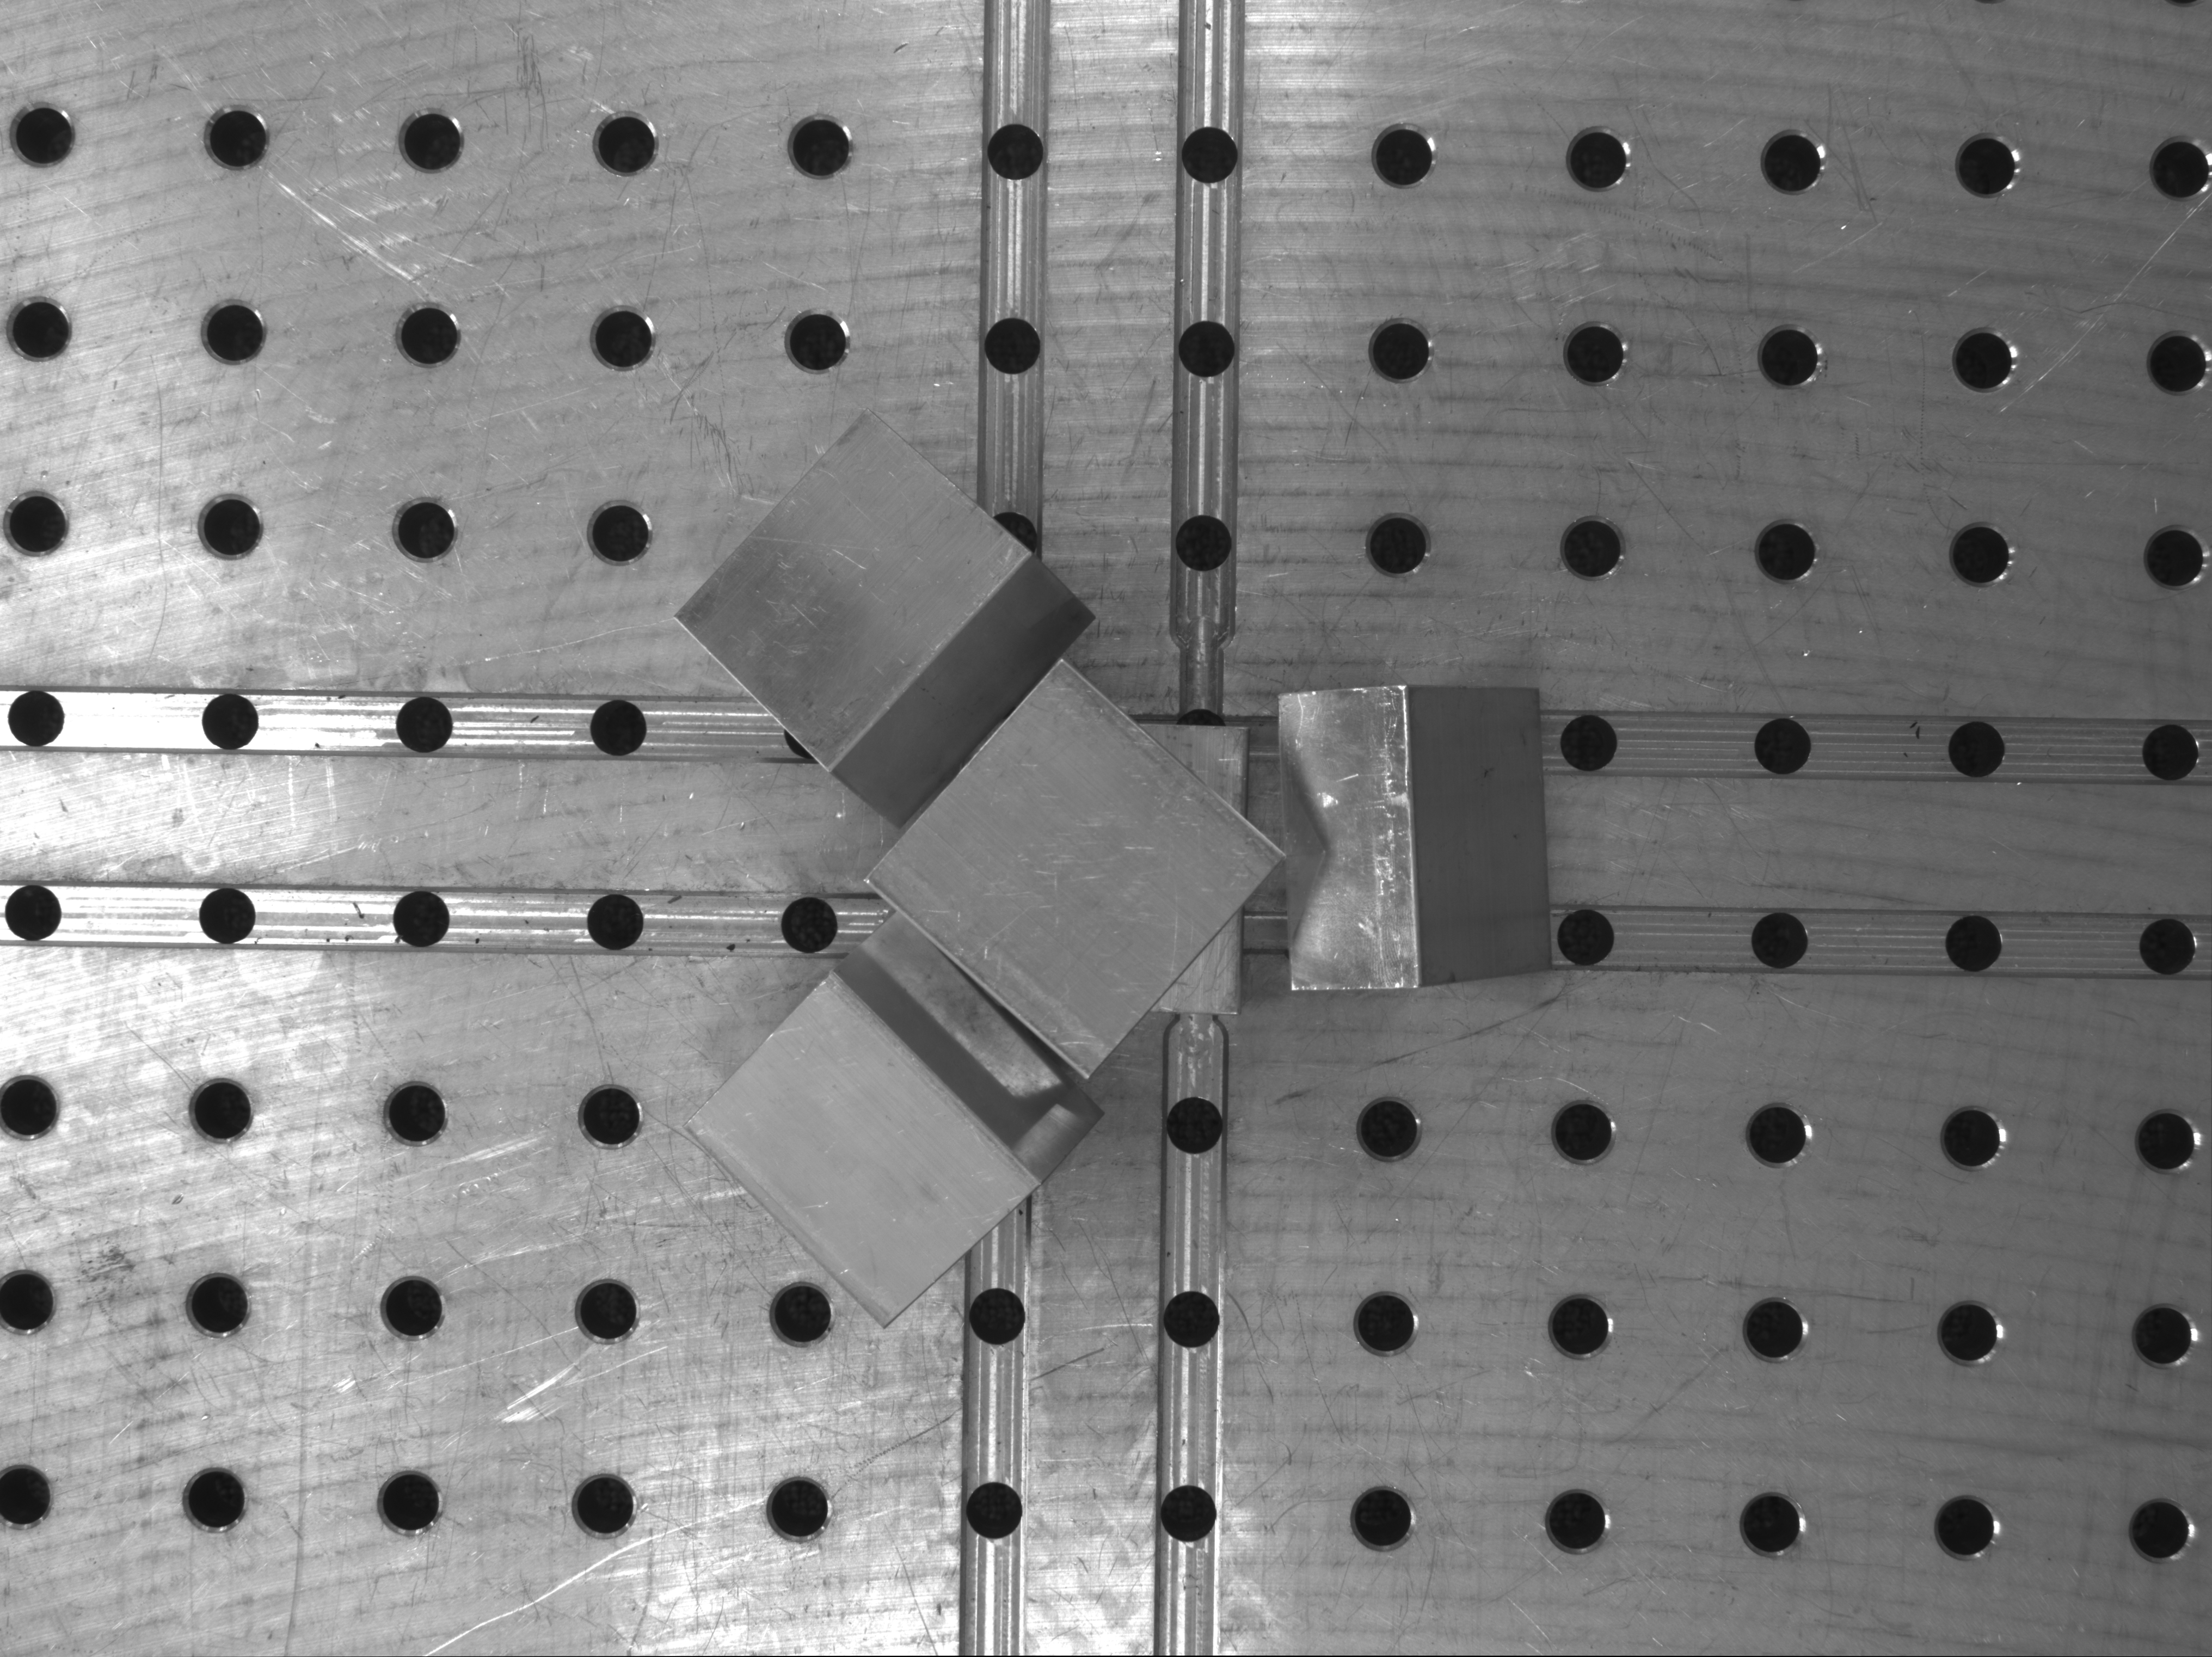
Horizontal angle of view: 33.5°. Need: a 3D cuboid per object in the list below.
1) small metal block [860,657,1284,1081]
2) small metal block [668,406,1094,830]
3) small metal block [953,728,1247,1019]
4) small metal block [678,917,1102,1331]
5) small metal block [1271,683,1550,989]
[{"bbox_3d":[-0.006,0.007,0.623,0.050,0.025,0.050,41,90,0],"label":"small metal block"},{"bbox_3d":[-0.039,-0.037,0.636,0.050,0.025,0.050,-47,54,0],"label":"small metal block"},{"bbox_3d":[-0.001,0.007,0.648,0.050,0.025,0.050,2,93,0],"label":"small metal block"},{"bbox_3d":[-0.038,0.050,0.635,0.050,0.025,0.050,45,127,0],"label":"small metal block"},{"bbox_3d":[0.053,0.001,0.633,0.025,0.050,0.050,-3,90,33],"label":"small metal block"}]
